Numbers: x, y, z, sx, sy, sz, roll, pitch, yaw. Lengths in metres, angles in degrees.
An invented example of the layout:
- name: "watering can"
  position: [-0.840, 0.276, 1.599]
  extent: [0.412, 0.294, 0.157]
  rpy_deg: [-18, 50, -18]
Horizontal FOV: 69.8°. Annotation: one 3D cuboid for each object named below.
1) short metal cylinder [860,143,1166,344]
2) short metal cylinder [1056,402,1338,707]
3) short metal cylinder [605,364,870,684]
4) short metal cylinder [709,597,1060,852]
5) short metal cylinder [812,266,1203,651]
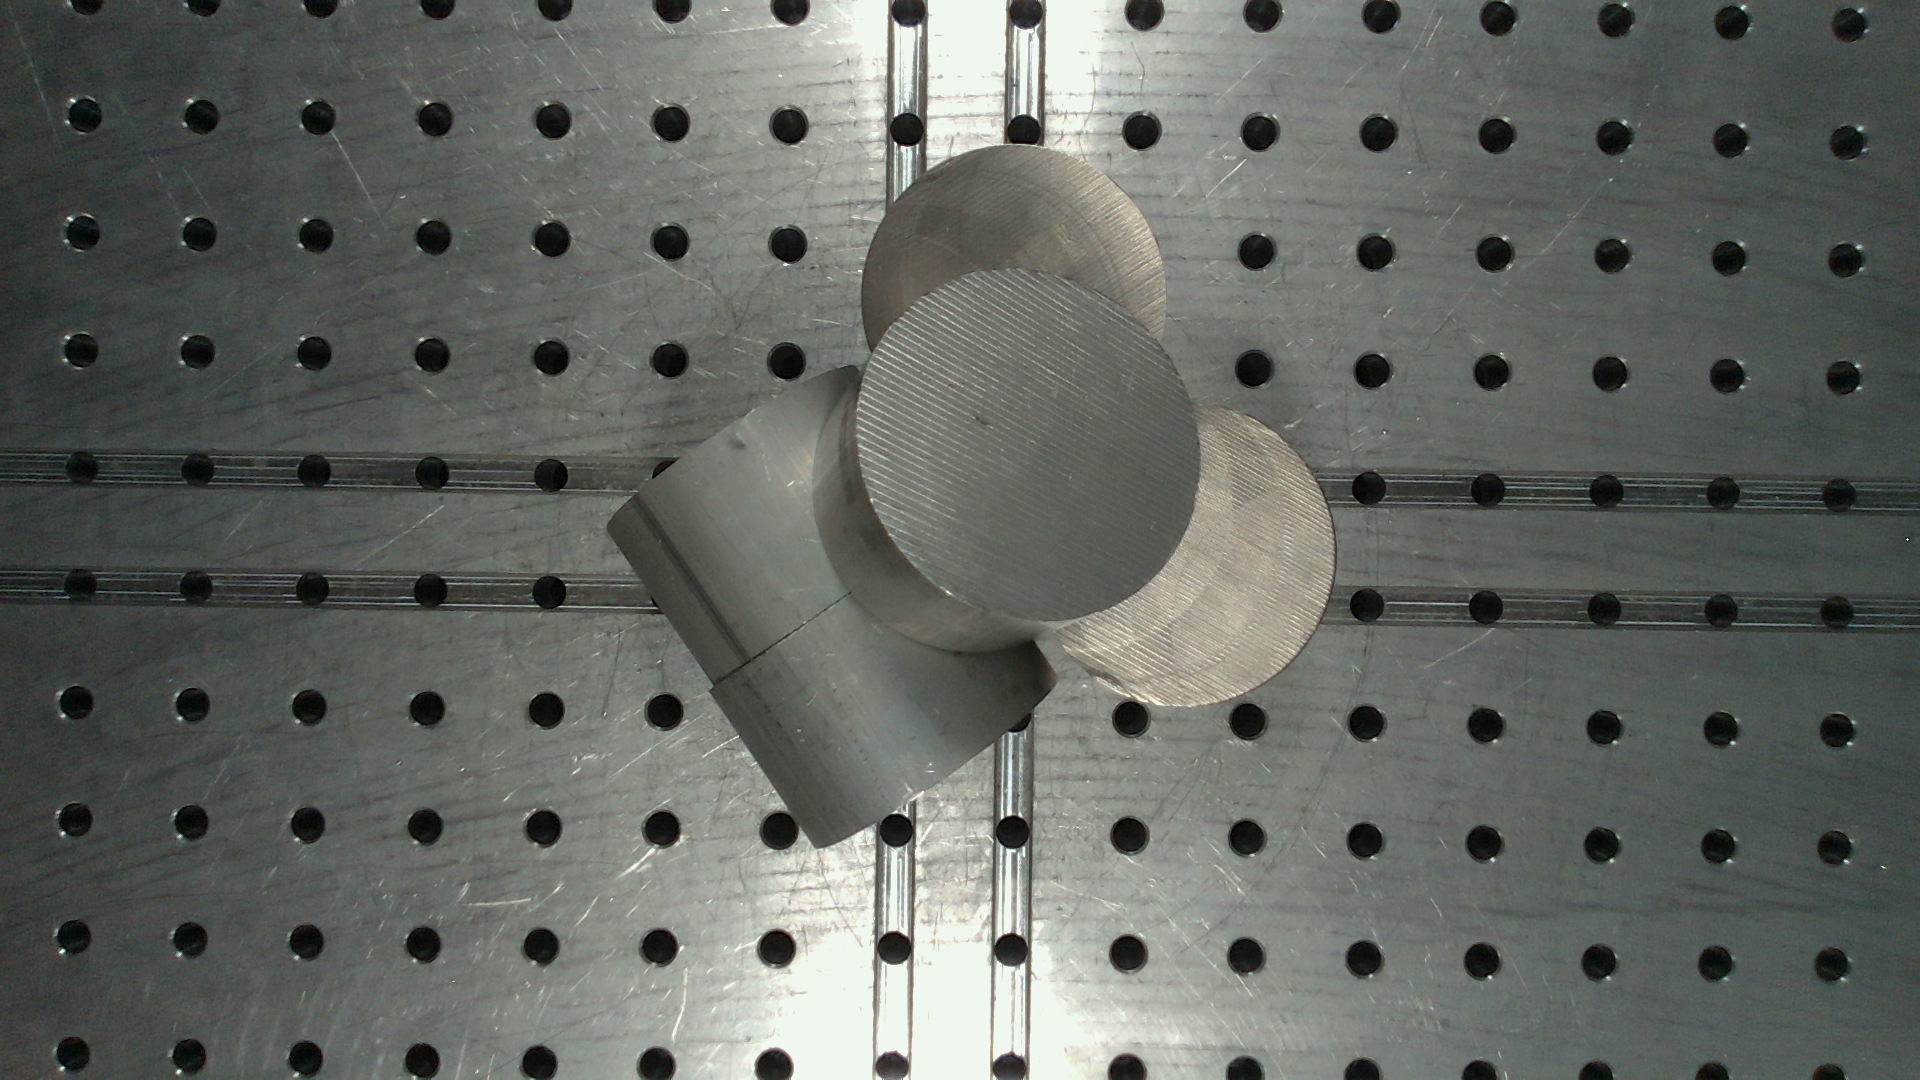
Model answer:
- name: "short metal cylinder"
  position: [0.014, -0.064, 0.384]
  extent: [0.080, 0.050, 0.080]
  rpy_deg: [0, 90, 0]
- name: "short metal cylinder"
  position: [0.059, 0.004, 0.385]
  extent: [0.080, 0.050, 0.080]
  rpy_deg: [0, 90, 0]
- name: "short metal cylinder"
  position: [-0.047, -0.004, 0.370]
  extent: [0.080, 0.080, 0.050]
  rpy_deg: [-34, 90, 0]
- name: "short metal cylinder"
  position: [-0.020, 0.039, 0.370]
  extent: [0.080, 0.080, 0.050]
  rpy_deg: [-34, 90, 0]
- name: "short metal cylinder"
  position: [0.009, -0.016, 0.321]
  extent: [0.080, 0.050, 0.080]
  rpy_deg: [4, 77, -17]
